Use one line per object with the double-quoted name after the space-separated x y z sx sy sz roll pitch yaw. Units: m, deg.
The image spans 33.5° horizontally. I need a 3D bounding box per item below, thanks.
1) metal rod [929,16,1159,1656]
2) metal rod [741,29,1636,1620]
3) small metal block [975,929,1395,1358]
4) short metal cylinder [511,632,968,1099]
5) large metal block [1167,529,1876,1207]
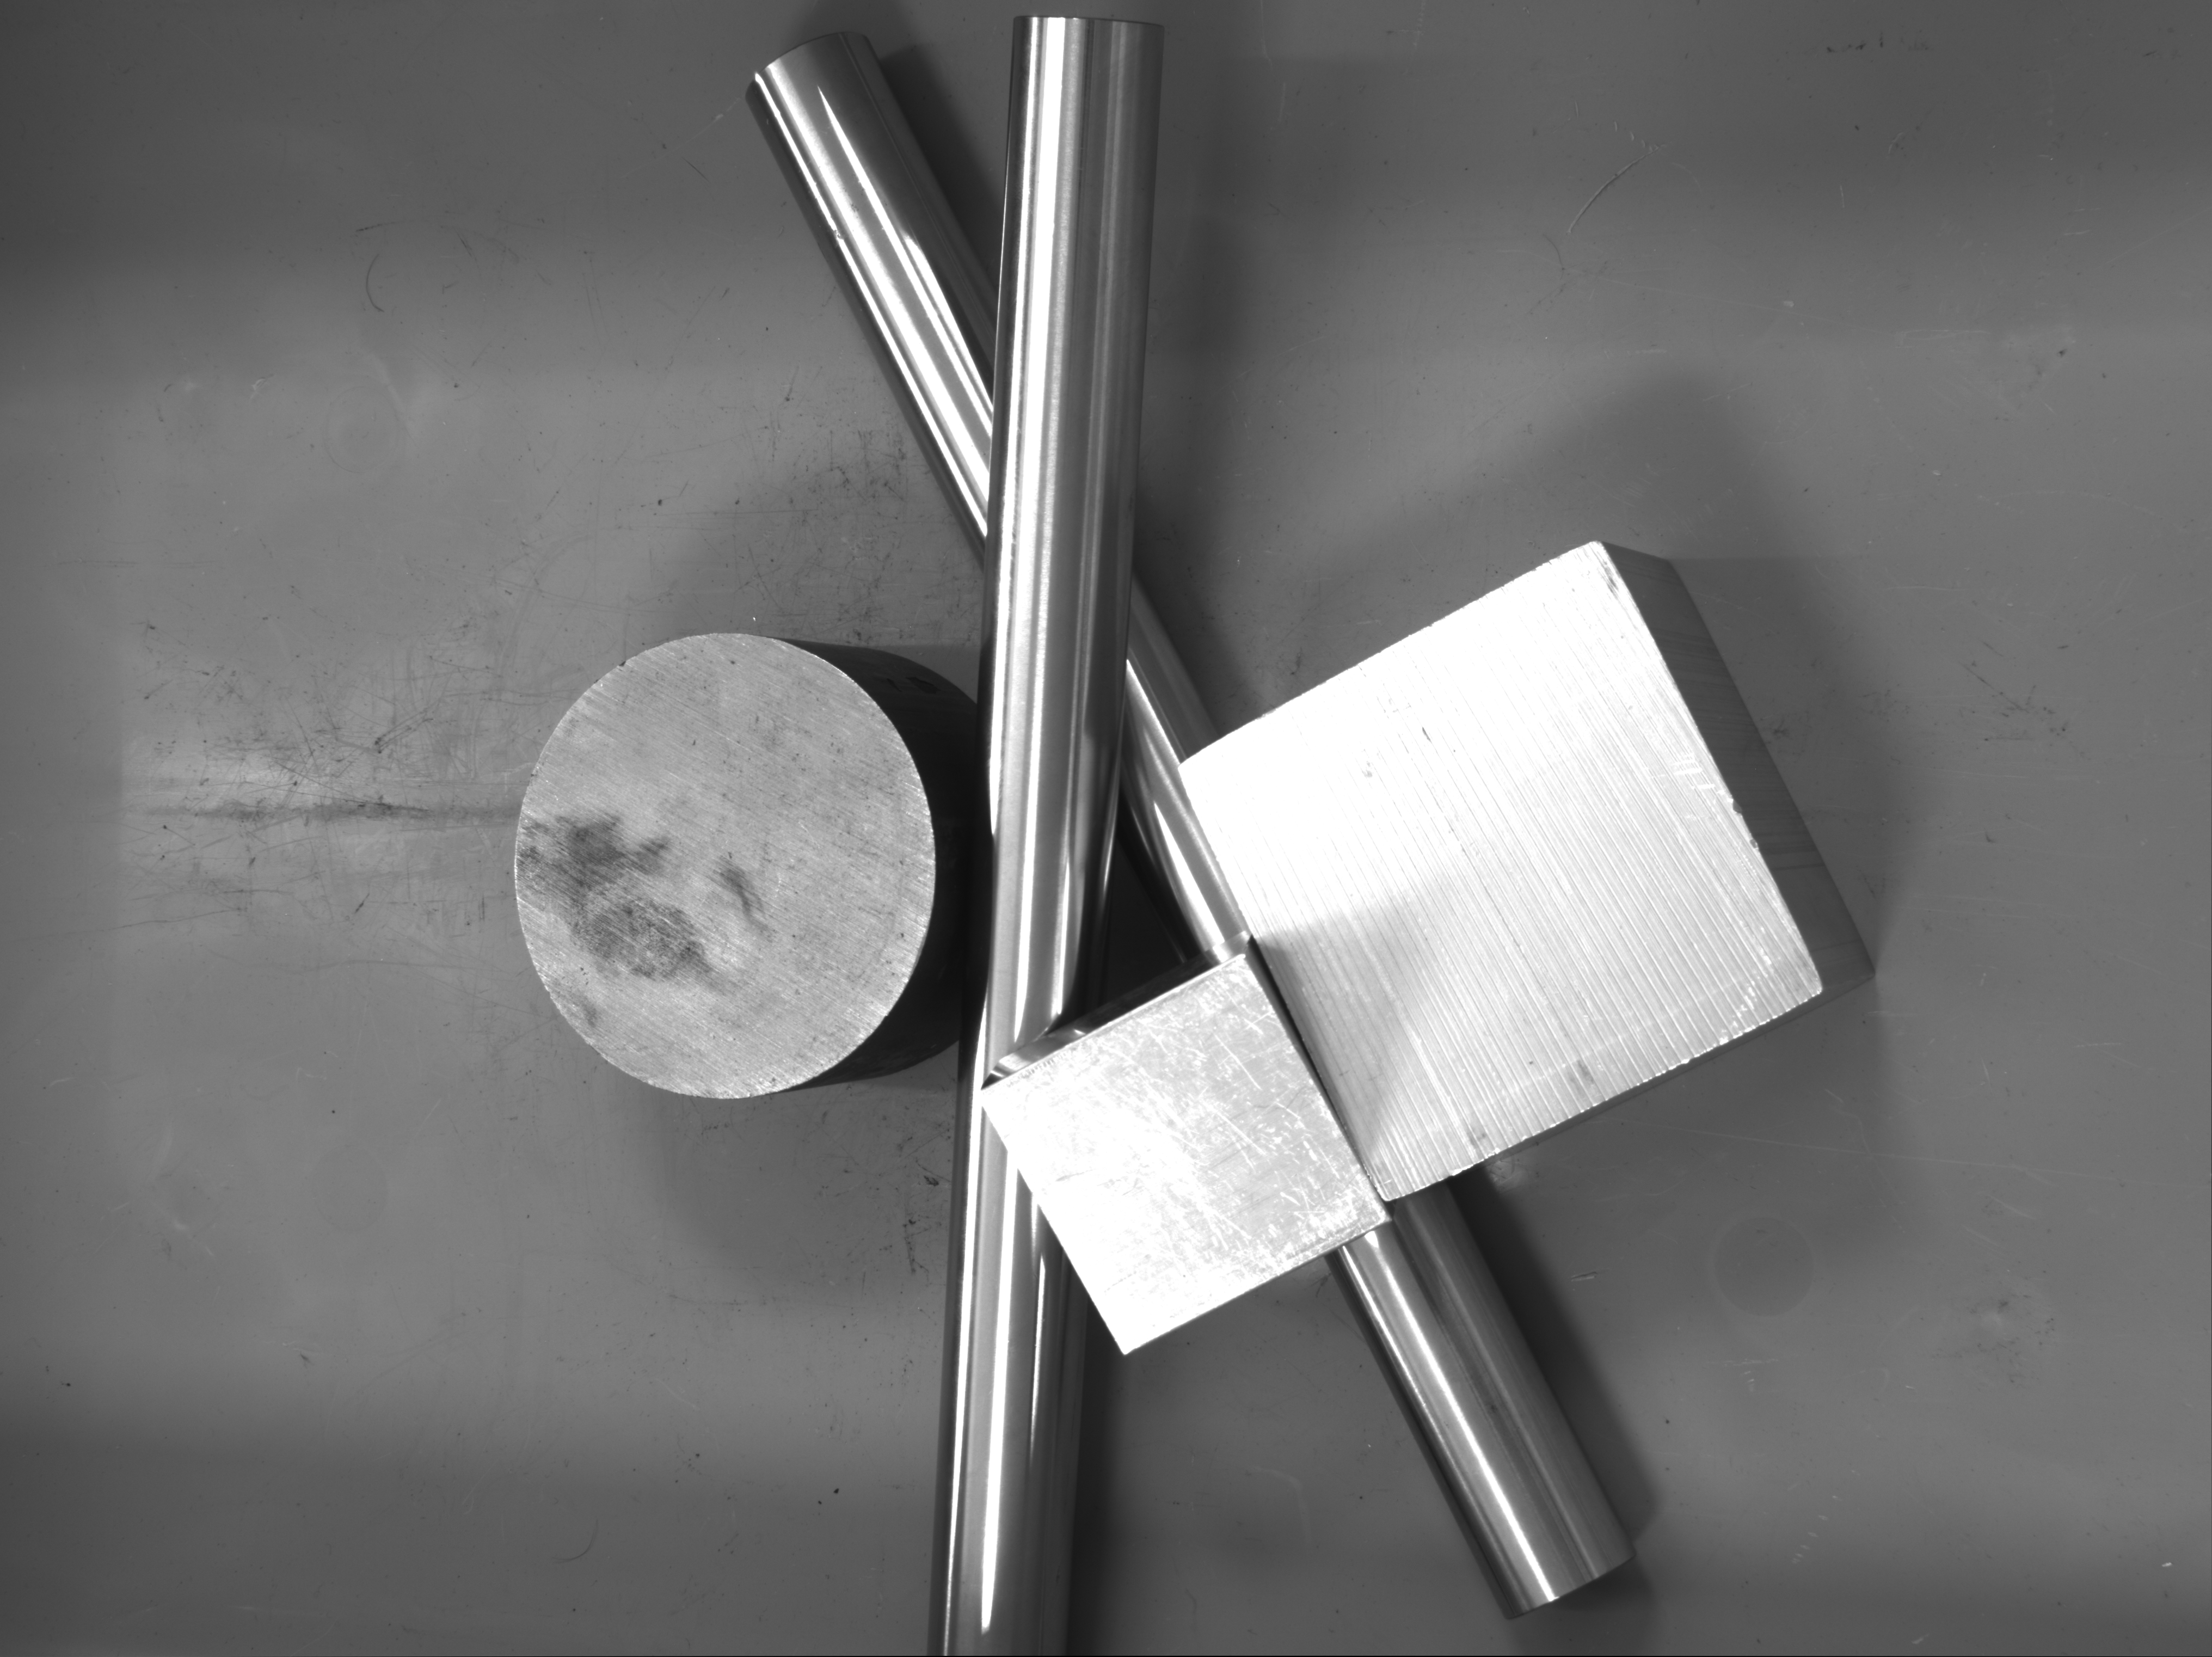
-0.012 0.015 0.629 0.025 0.025 0.300 7 100 20 "metal rod"
0.012 -0.005 0.641 0.025 0.025 0.300 -29 81 18 "metal rod"
0.014 0.051 0.606 0.050 0.025 0.050 -28 95 10 "small metal block"
-0.058 0.006 0.653 0.080 0.050 0.080 0 90 20 "short metal cylinder"
0.069 0.007 0.606 0.080 0.050 0.080 -29 80 18 "large metal block"
